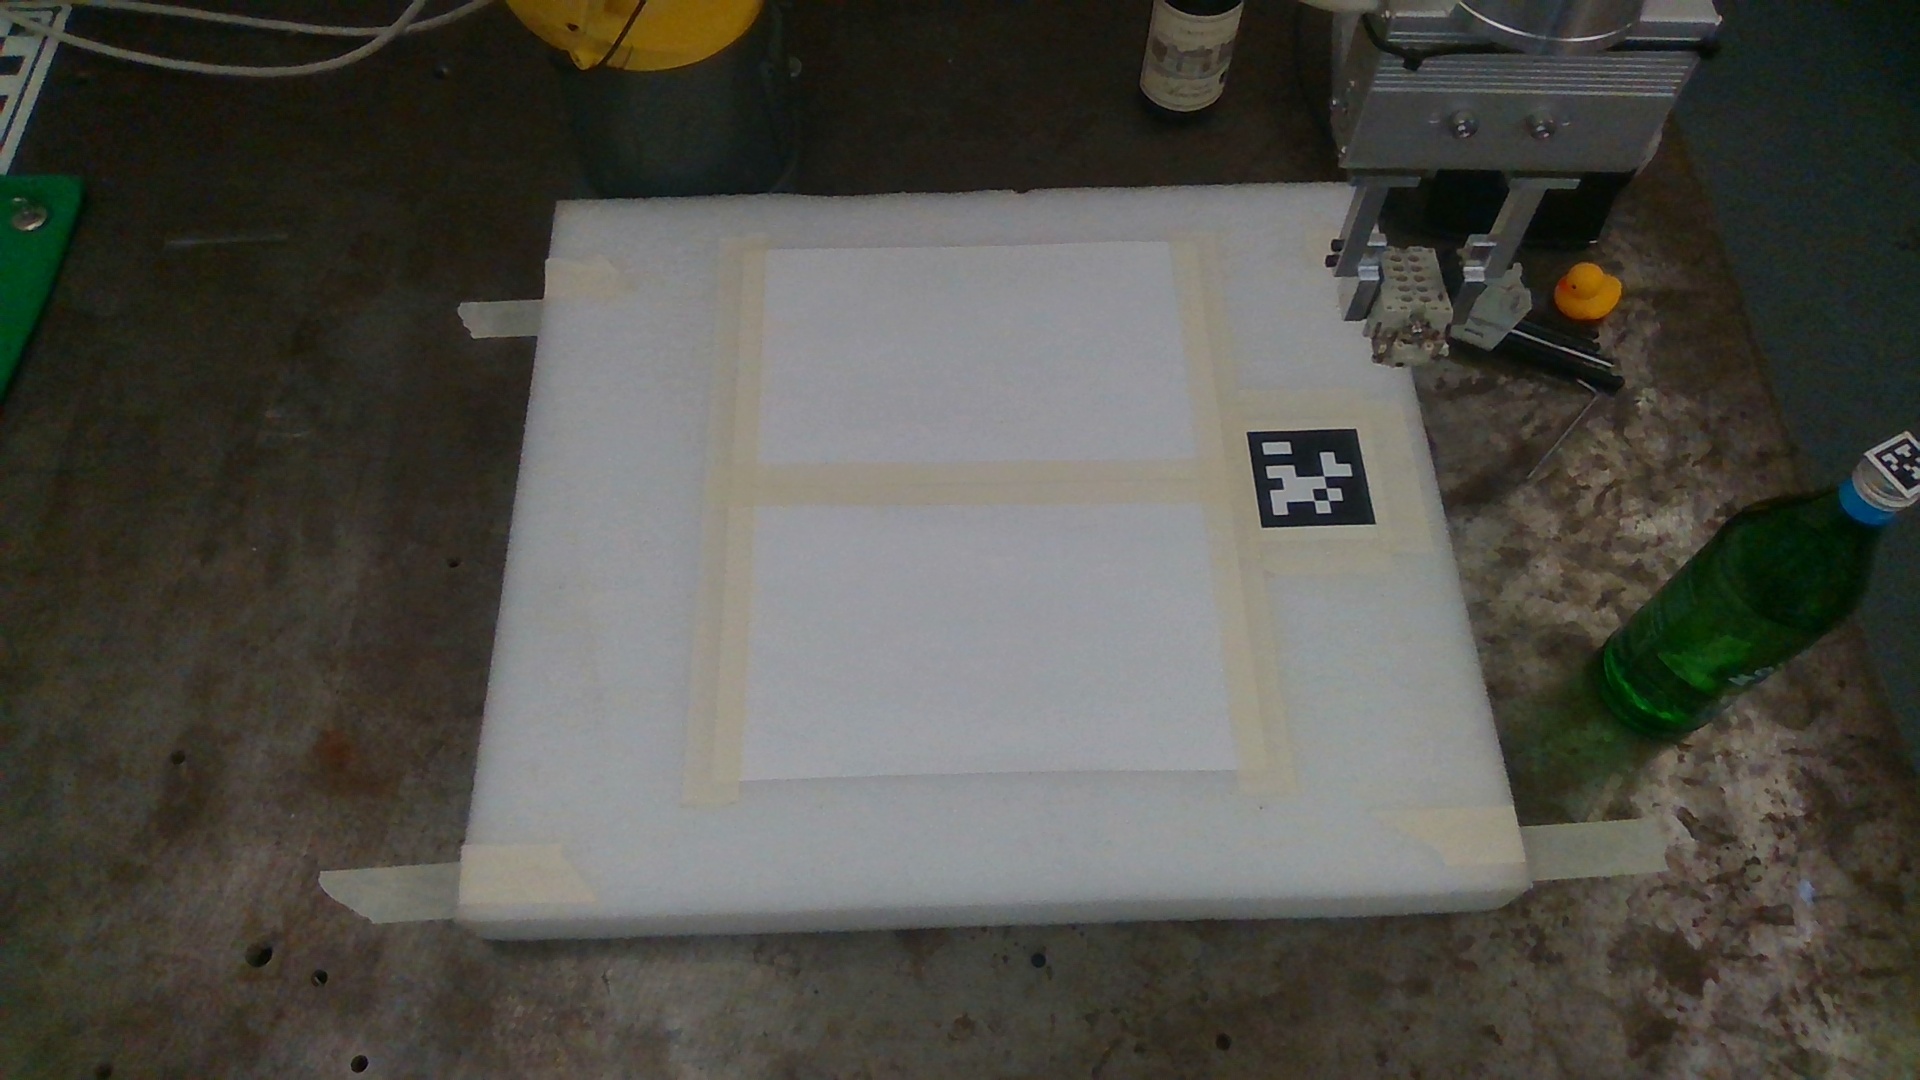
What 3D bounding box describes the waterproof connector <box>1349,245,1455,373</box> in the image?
[{"bbox_3d":[0.207,-0.109,0.655,0.037,0.038,0.069,0,51,-1],"label":"waterproof connector"}]
